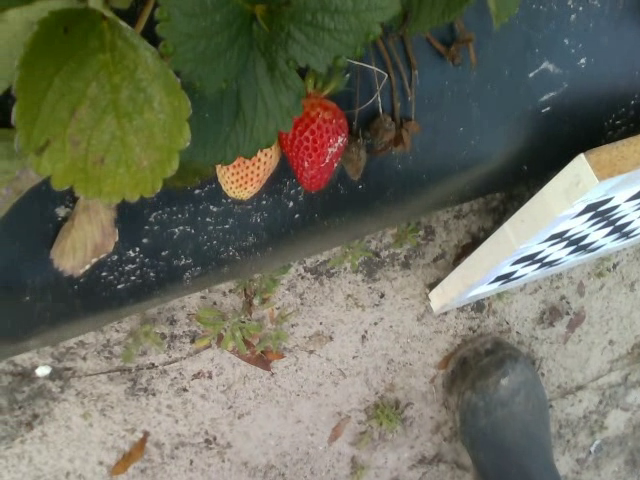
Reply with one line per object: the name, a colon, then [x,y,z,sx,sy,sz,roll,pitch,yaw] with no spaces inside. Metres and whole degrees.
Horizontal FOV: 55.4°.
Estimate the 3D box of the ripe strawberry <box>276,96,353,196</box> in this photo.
ripe strawberry: [-0.003,-0.038,0.245,0.034,0.042,0.033,-1,2,-44]
